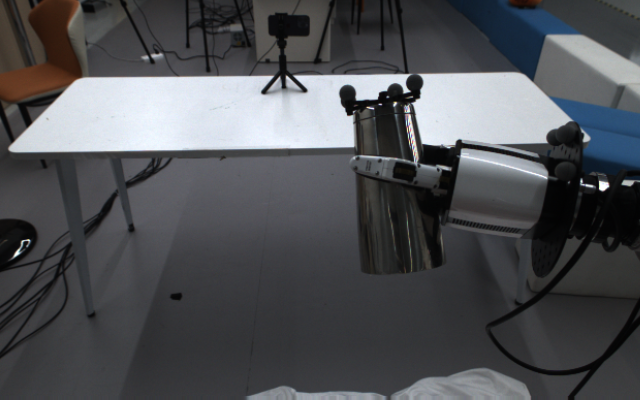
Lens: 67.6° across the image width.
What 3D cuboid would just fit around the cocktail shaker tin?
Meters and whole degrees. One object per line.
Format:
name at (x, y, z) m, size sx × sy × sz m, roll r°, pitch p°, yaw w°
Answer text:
cocktail shaker tin at (0.080, -0.013, 0.521) m, size 0.093 × 0.170 × 0.093 m, roll -8°, pitch 1°, yaw 0°
